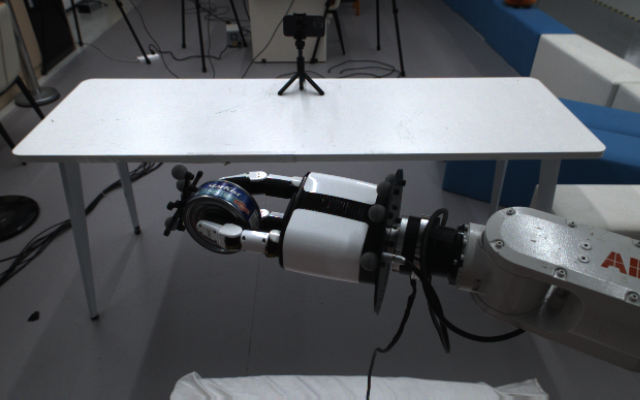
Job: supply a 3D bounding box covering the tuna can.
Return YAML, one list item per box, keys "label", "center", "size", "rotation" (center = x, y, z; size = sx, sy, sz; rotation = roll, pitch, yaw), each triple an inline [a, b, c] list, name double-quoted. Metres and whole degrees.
- label: "tuna can"
  center: [-0.110, 0.025, 0.558]
  size: [0.085, 0.085, 0.034]
  rotation: [9, 35, 10]
